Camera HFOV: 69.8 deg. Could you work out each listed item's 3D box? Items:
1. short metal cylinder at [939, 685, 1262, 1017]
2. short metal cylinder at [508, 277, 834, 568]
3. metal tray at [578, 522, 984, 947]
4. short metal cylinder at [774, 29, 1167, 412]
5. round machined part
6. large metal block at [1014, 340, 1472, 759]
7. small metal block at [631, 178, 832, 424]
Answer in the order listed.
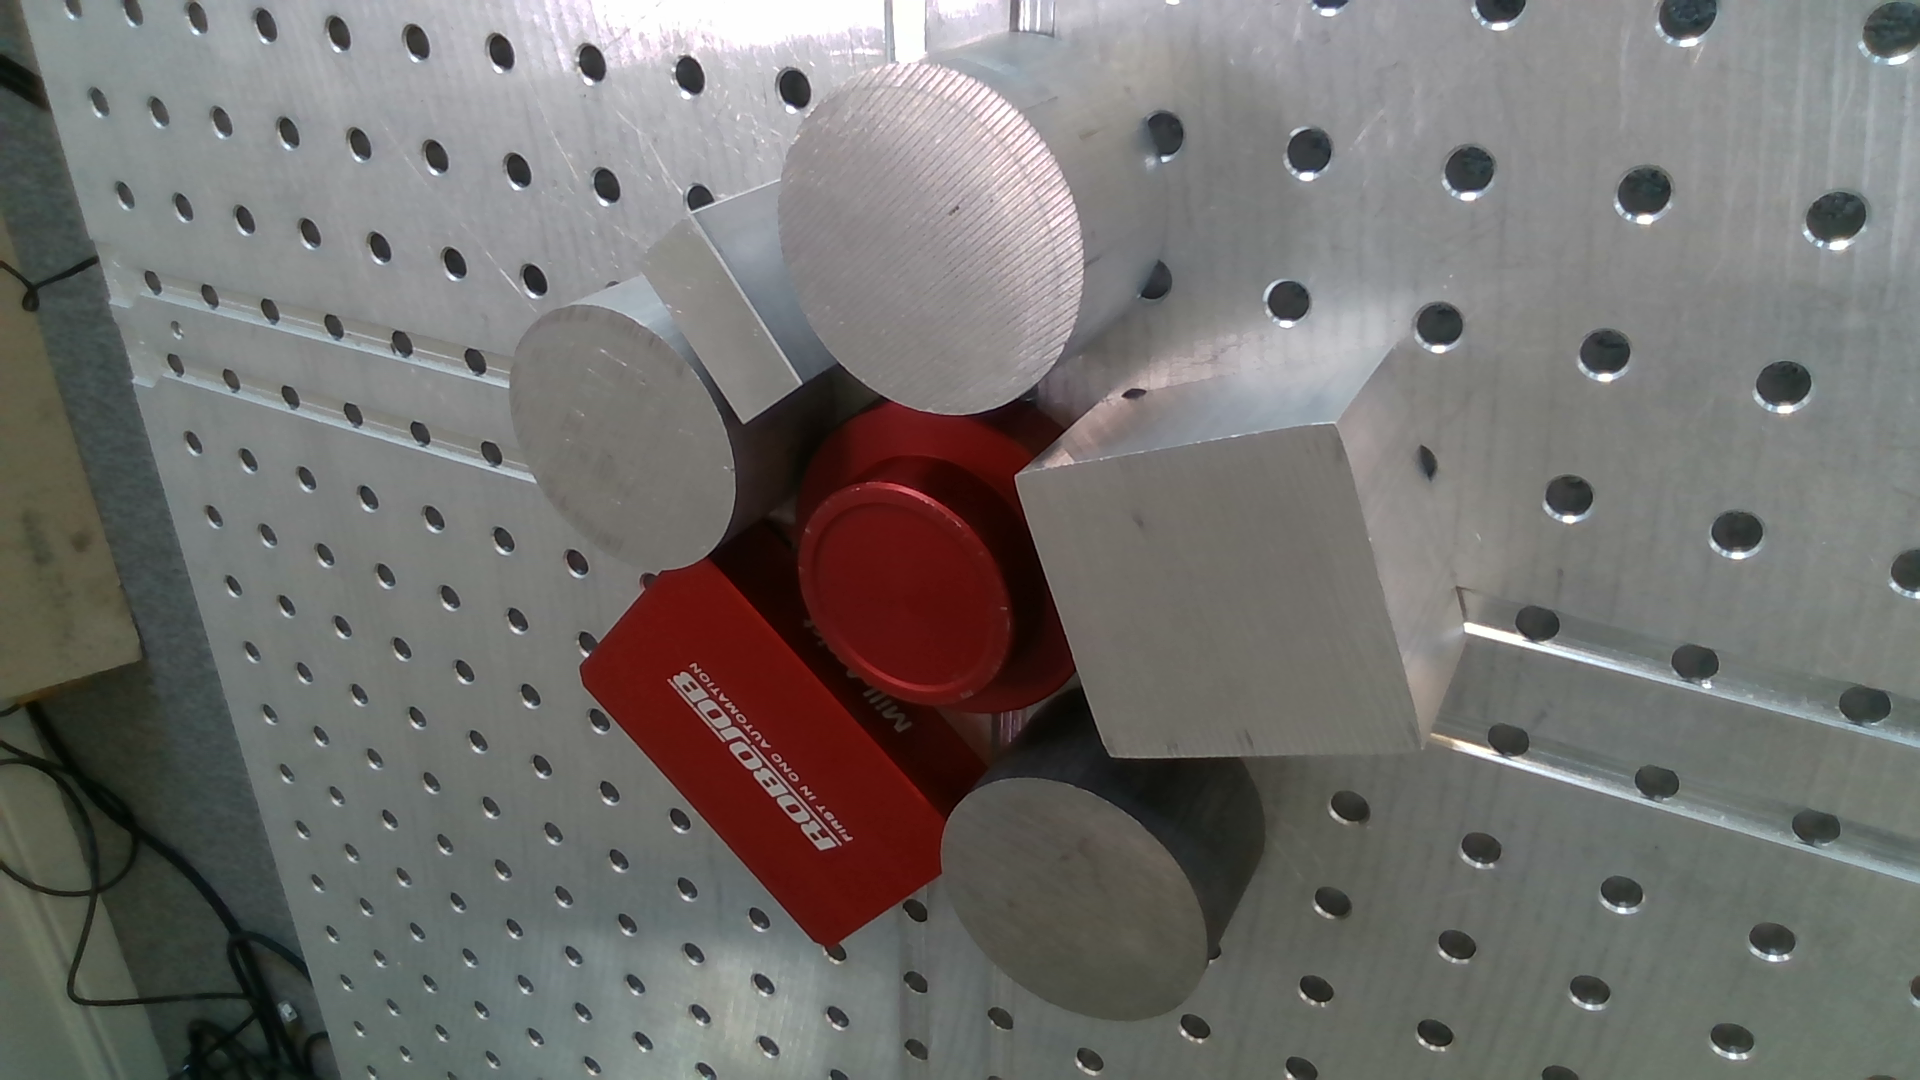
[{"bbox_3d":[0.041,0.089,0.399,0.080,0.050,0.080,15,122,25],"label":"short metal cylinder"},{"bbox_3d":[-0.085,-0.039,0.406,0.080,0.050,0.080,15,122,25],"label":"short metal cylinder"},{"bbox_3d":[-0.059,0.065,0.459,0.130,0.030,0.090,47,129,0],"label":"metal tray"},{"bbox_3d":[0.003,-0.077,0.331,0.080,0.050,0.080,15,122,25],"label":"short metal cylinder"},{"bbox_3d":[-0.007,0.007,0.388,0.098,0.042,0.098,15,122,25],"label":"round machined part"},{"bbox_3d":[0.070,0.005,0.335,0.080,0.050,0.080,-8,111,34],"label":"large metal block"},{"bbox_3d":[-0.051,-0.066,0.370,0.025,0.050,0.050,-27,99,38],"label":"small metal block"}]
